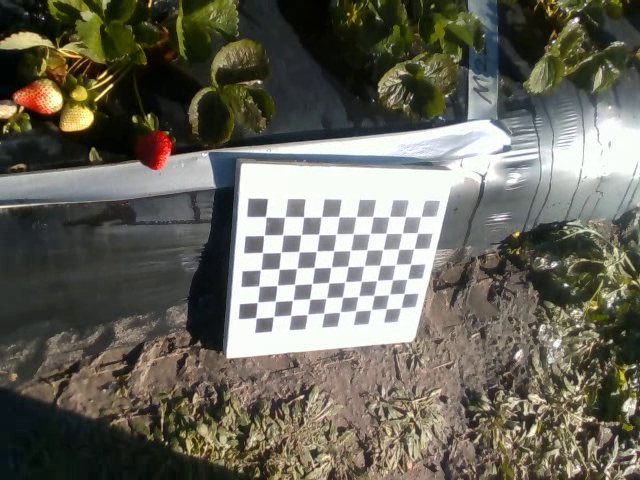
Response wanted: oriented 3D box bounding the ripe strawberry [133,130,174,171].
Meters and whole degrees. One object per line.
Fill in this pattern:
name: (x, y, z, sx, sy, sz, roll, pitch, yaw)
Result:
ripe strawberry: (-0.149, -0.078, 0.448, 0.036, 0.038, 0.045, -2, 38, -16)
